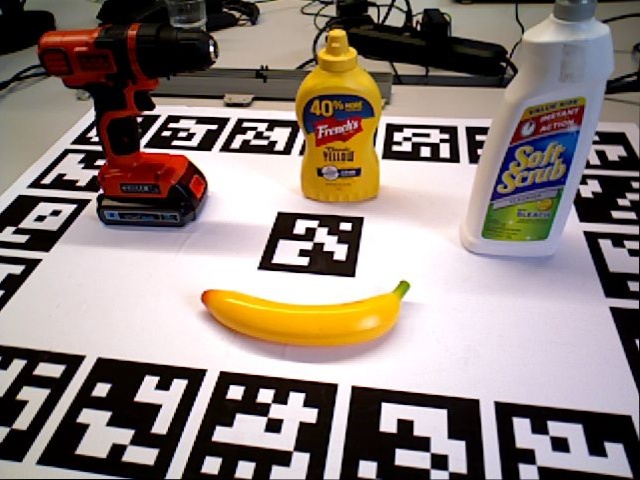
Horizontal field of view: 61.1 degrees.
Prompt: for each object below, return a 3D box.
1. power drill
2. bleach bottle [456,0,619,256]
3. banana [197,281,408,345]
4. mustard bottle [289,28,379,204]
[{"bbox_3d":[-0.179,-0.135,0.565,0.184,0.191,0.056,-2,42,7],"label":"power drill"},{"bbox_3d":[0.193,-0.100,0.492,0.103,0.256,0.066,10,43,14],"label":"bleach bottle"},{"bbox_3d":[-0.017,0.059,0.481,0.197,0.039,0.073,-2,44,7],"label":"banana"},{"bbox_3d":[0.015,-0.130,0.590,0.096,0.196,0.057,0,42,1],"label":"mustard bottle"}]
